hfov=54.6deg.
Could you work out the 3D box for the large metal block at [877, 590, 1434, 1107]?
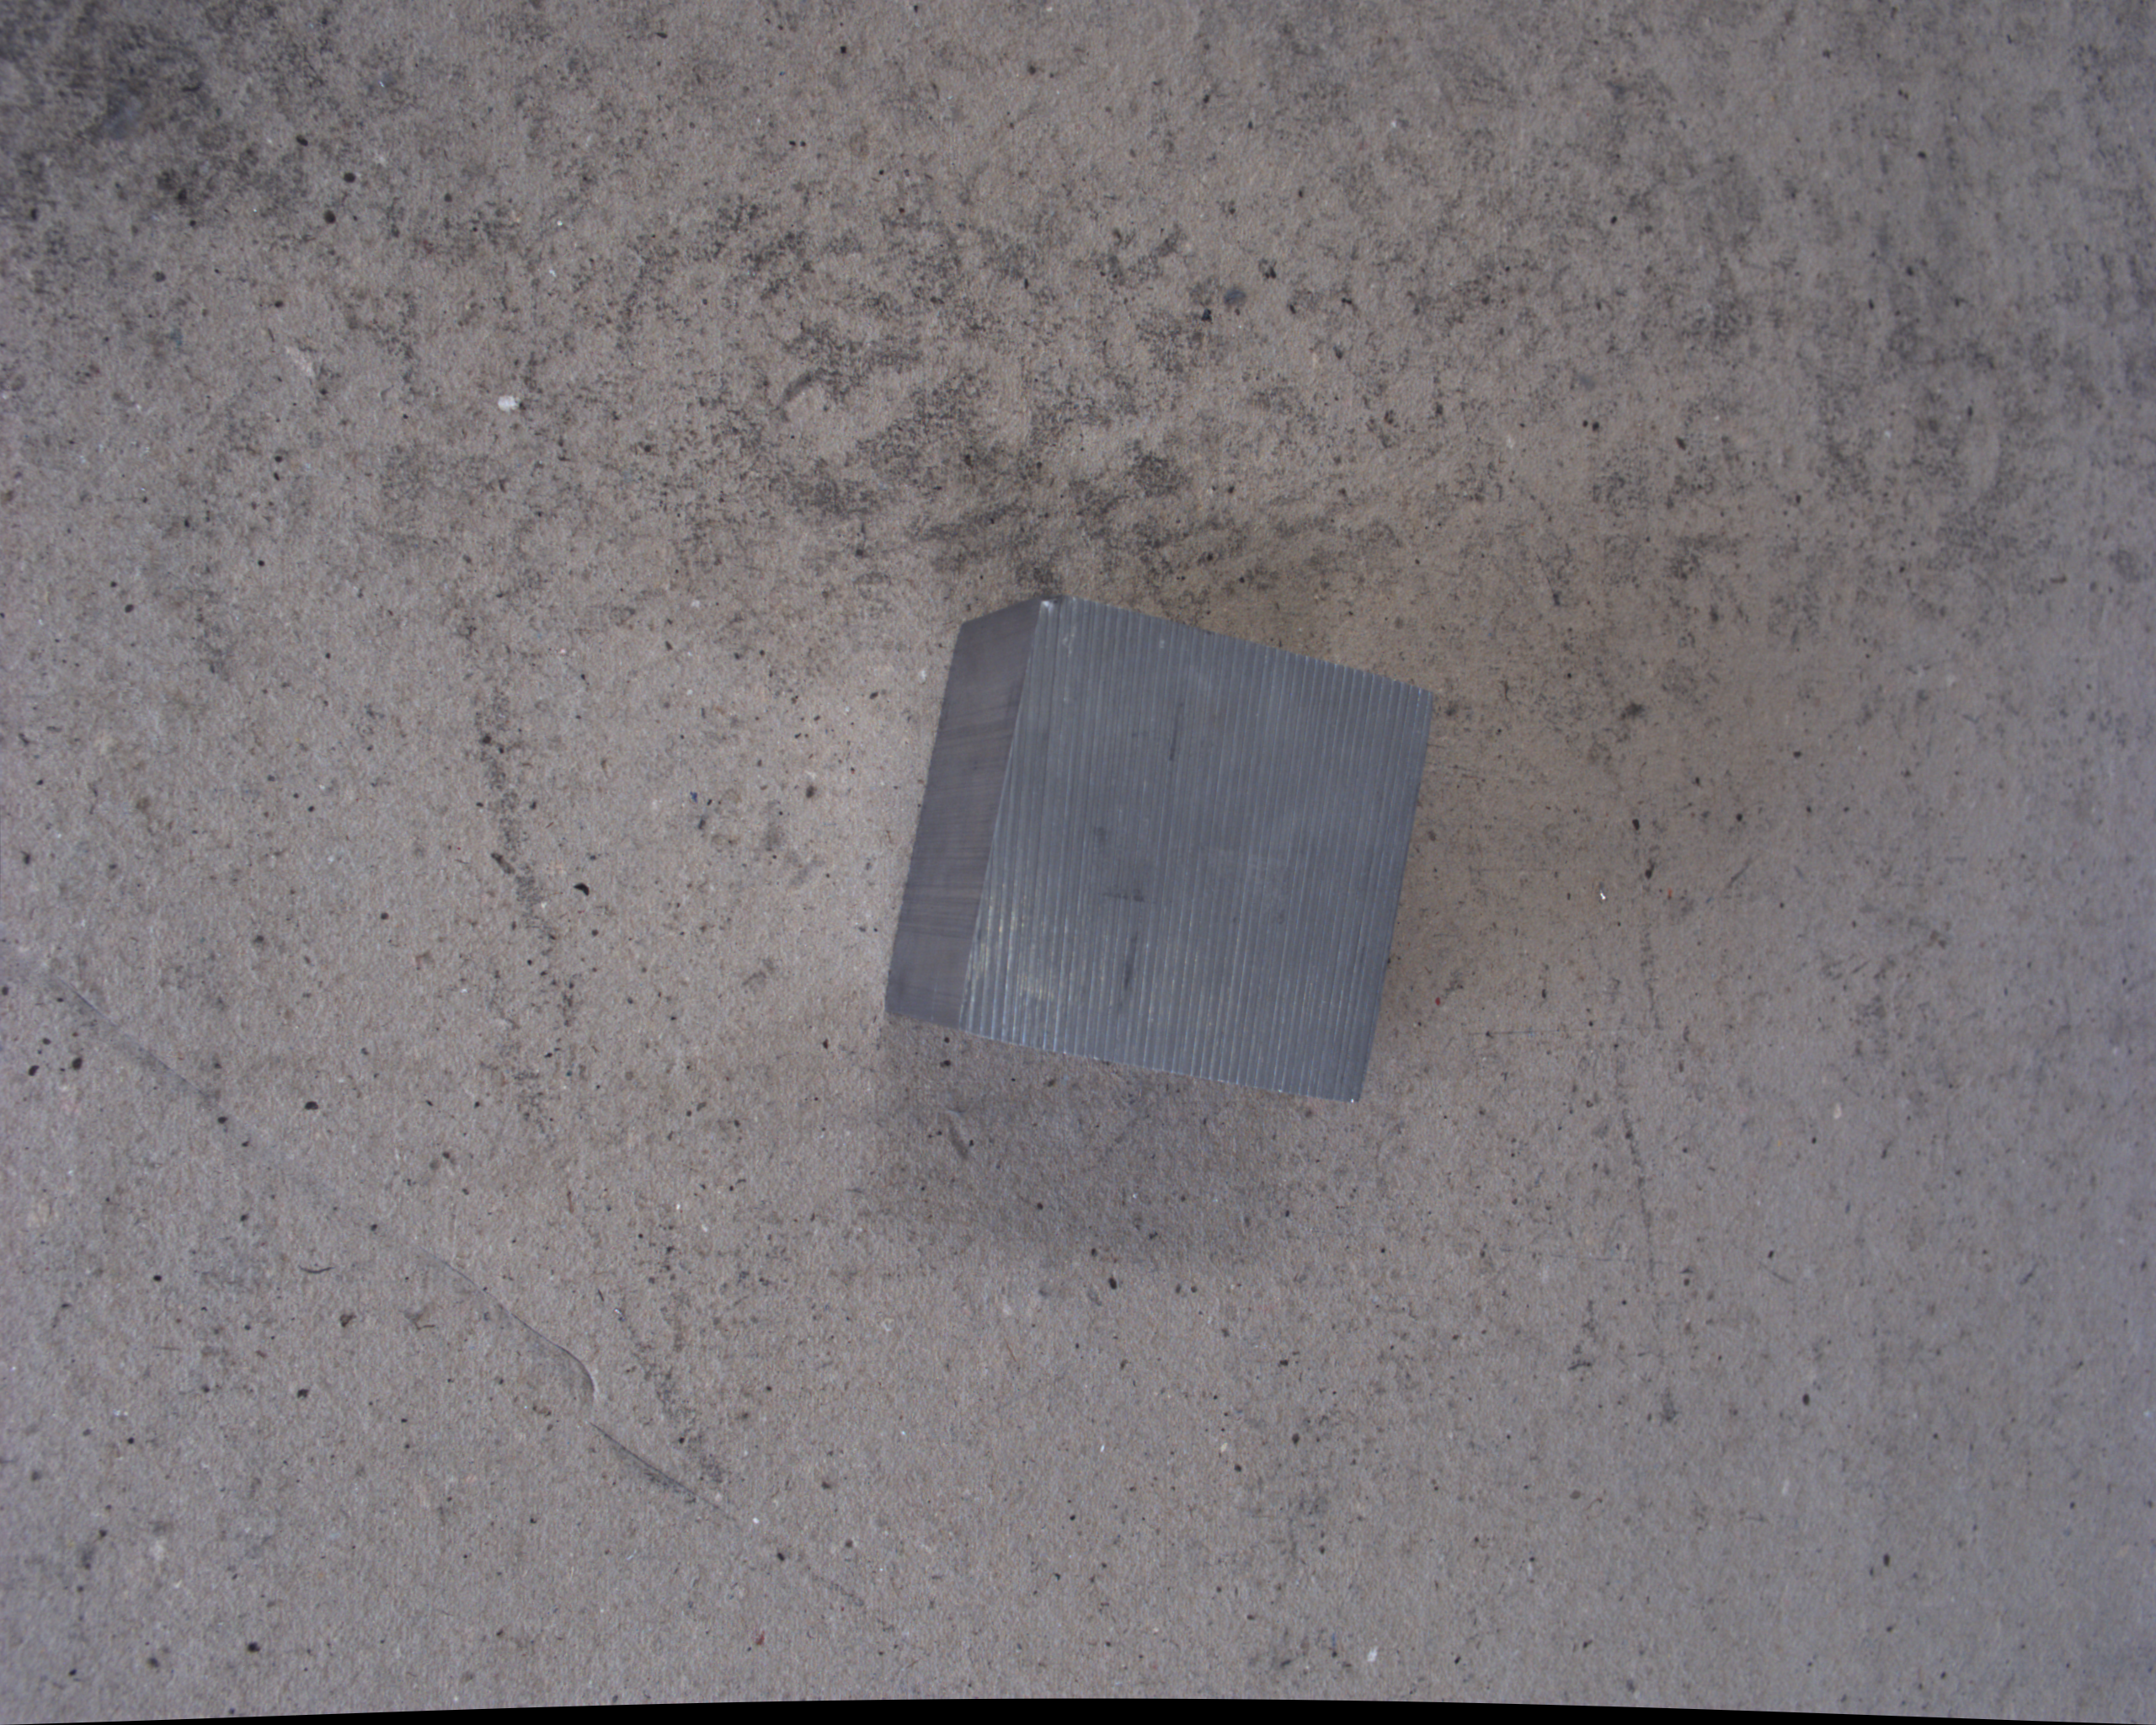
[{"bbox_3d":[0.014,-0.001,0.402,0.081,0.050,0.080,12,86,-21],"label":"large metal block"}]
